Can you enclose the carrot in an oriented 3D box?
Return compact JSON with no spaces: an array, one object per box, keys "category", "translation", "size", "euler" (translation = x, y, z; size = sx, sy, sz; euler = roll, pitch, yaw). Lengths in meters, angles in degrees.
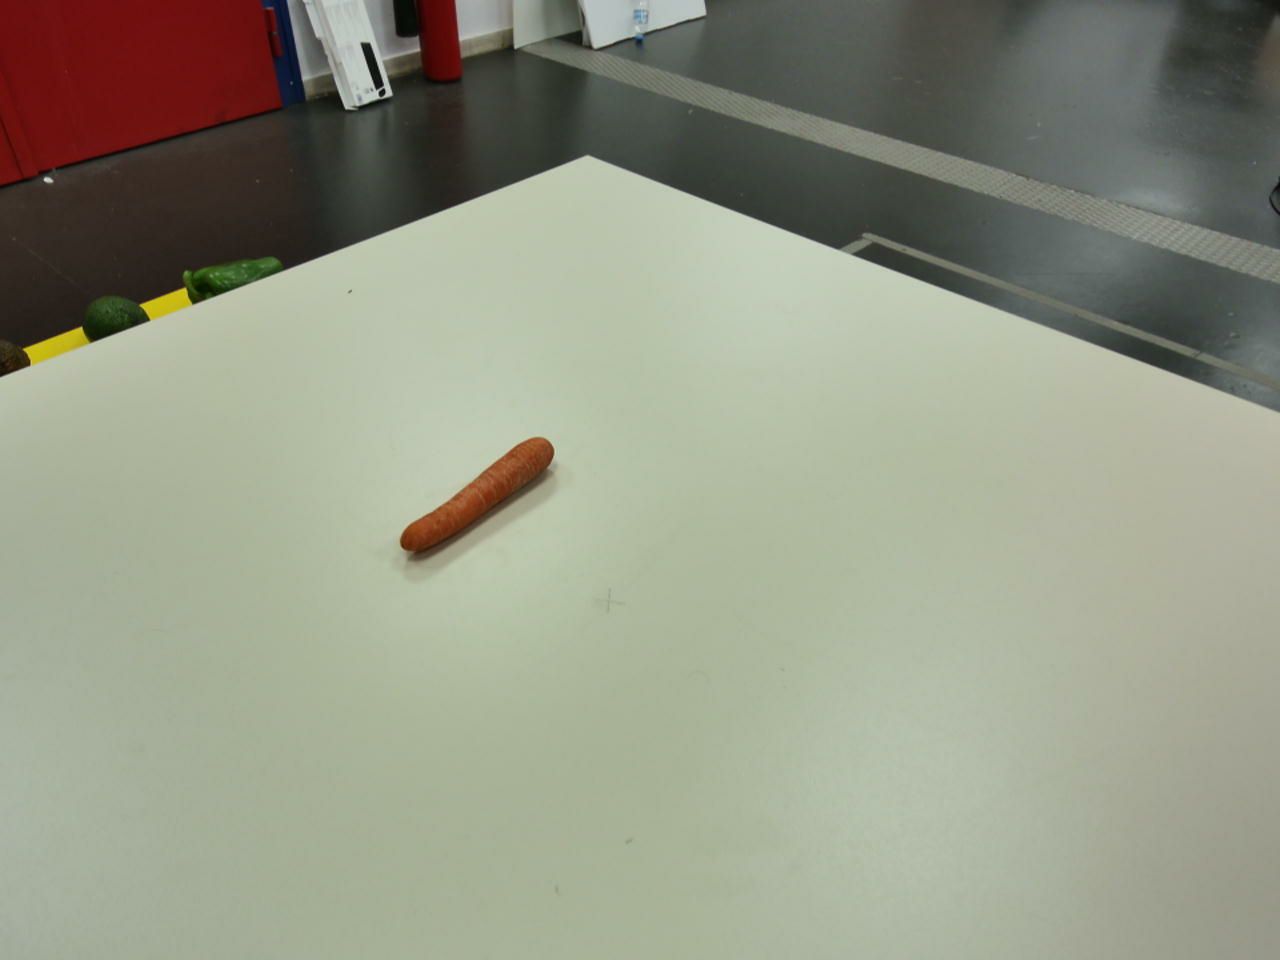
[{"category":"carrot","translation":[-0.096,0.007,0.599],"size":[0.024,0.023,0.122],"euler":[27,44,29]}]
